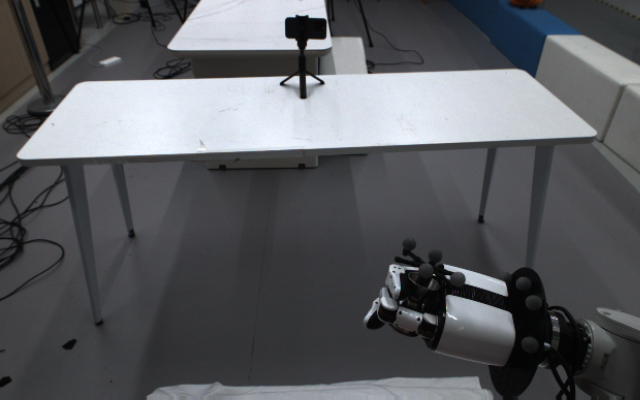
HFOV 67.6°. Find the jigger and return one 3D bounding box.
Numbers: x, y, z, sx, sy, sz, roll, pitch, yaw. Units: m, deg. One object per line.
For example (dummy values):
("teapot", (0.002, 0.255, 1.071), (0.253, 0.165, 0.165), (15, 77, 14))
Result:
("jigger", (0.117, 0.128, 0.598), (0.043, 0.071, 0.043), (18, 17, -6))
